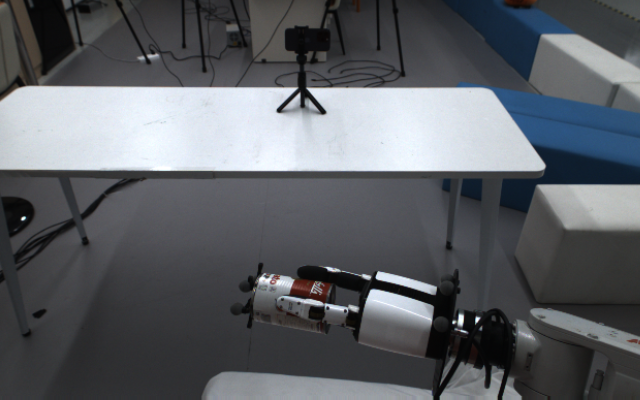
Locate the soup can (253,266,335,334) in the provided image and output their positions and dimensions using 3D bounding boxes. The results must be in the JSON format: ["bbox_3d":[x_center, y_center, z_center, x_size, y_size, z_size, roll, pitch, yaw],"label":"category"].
[{"bbox_3d":[-0.032,0.138,0.651,0.101,0.067,0.067,7,35,11],"label":"soup can"}]
